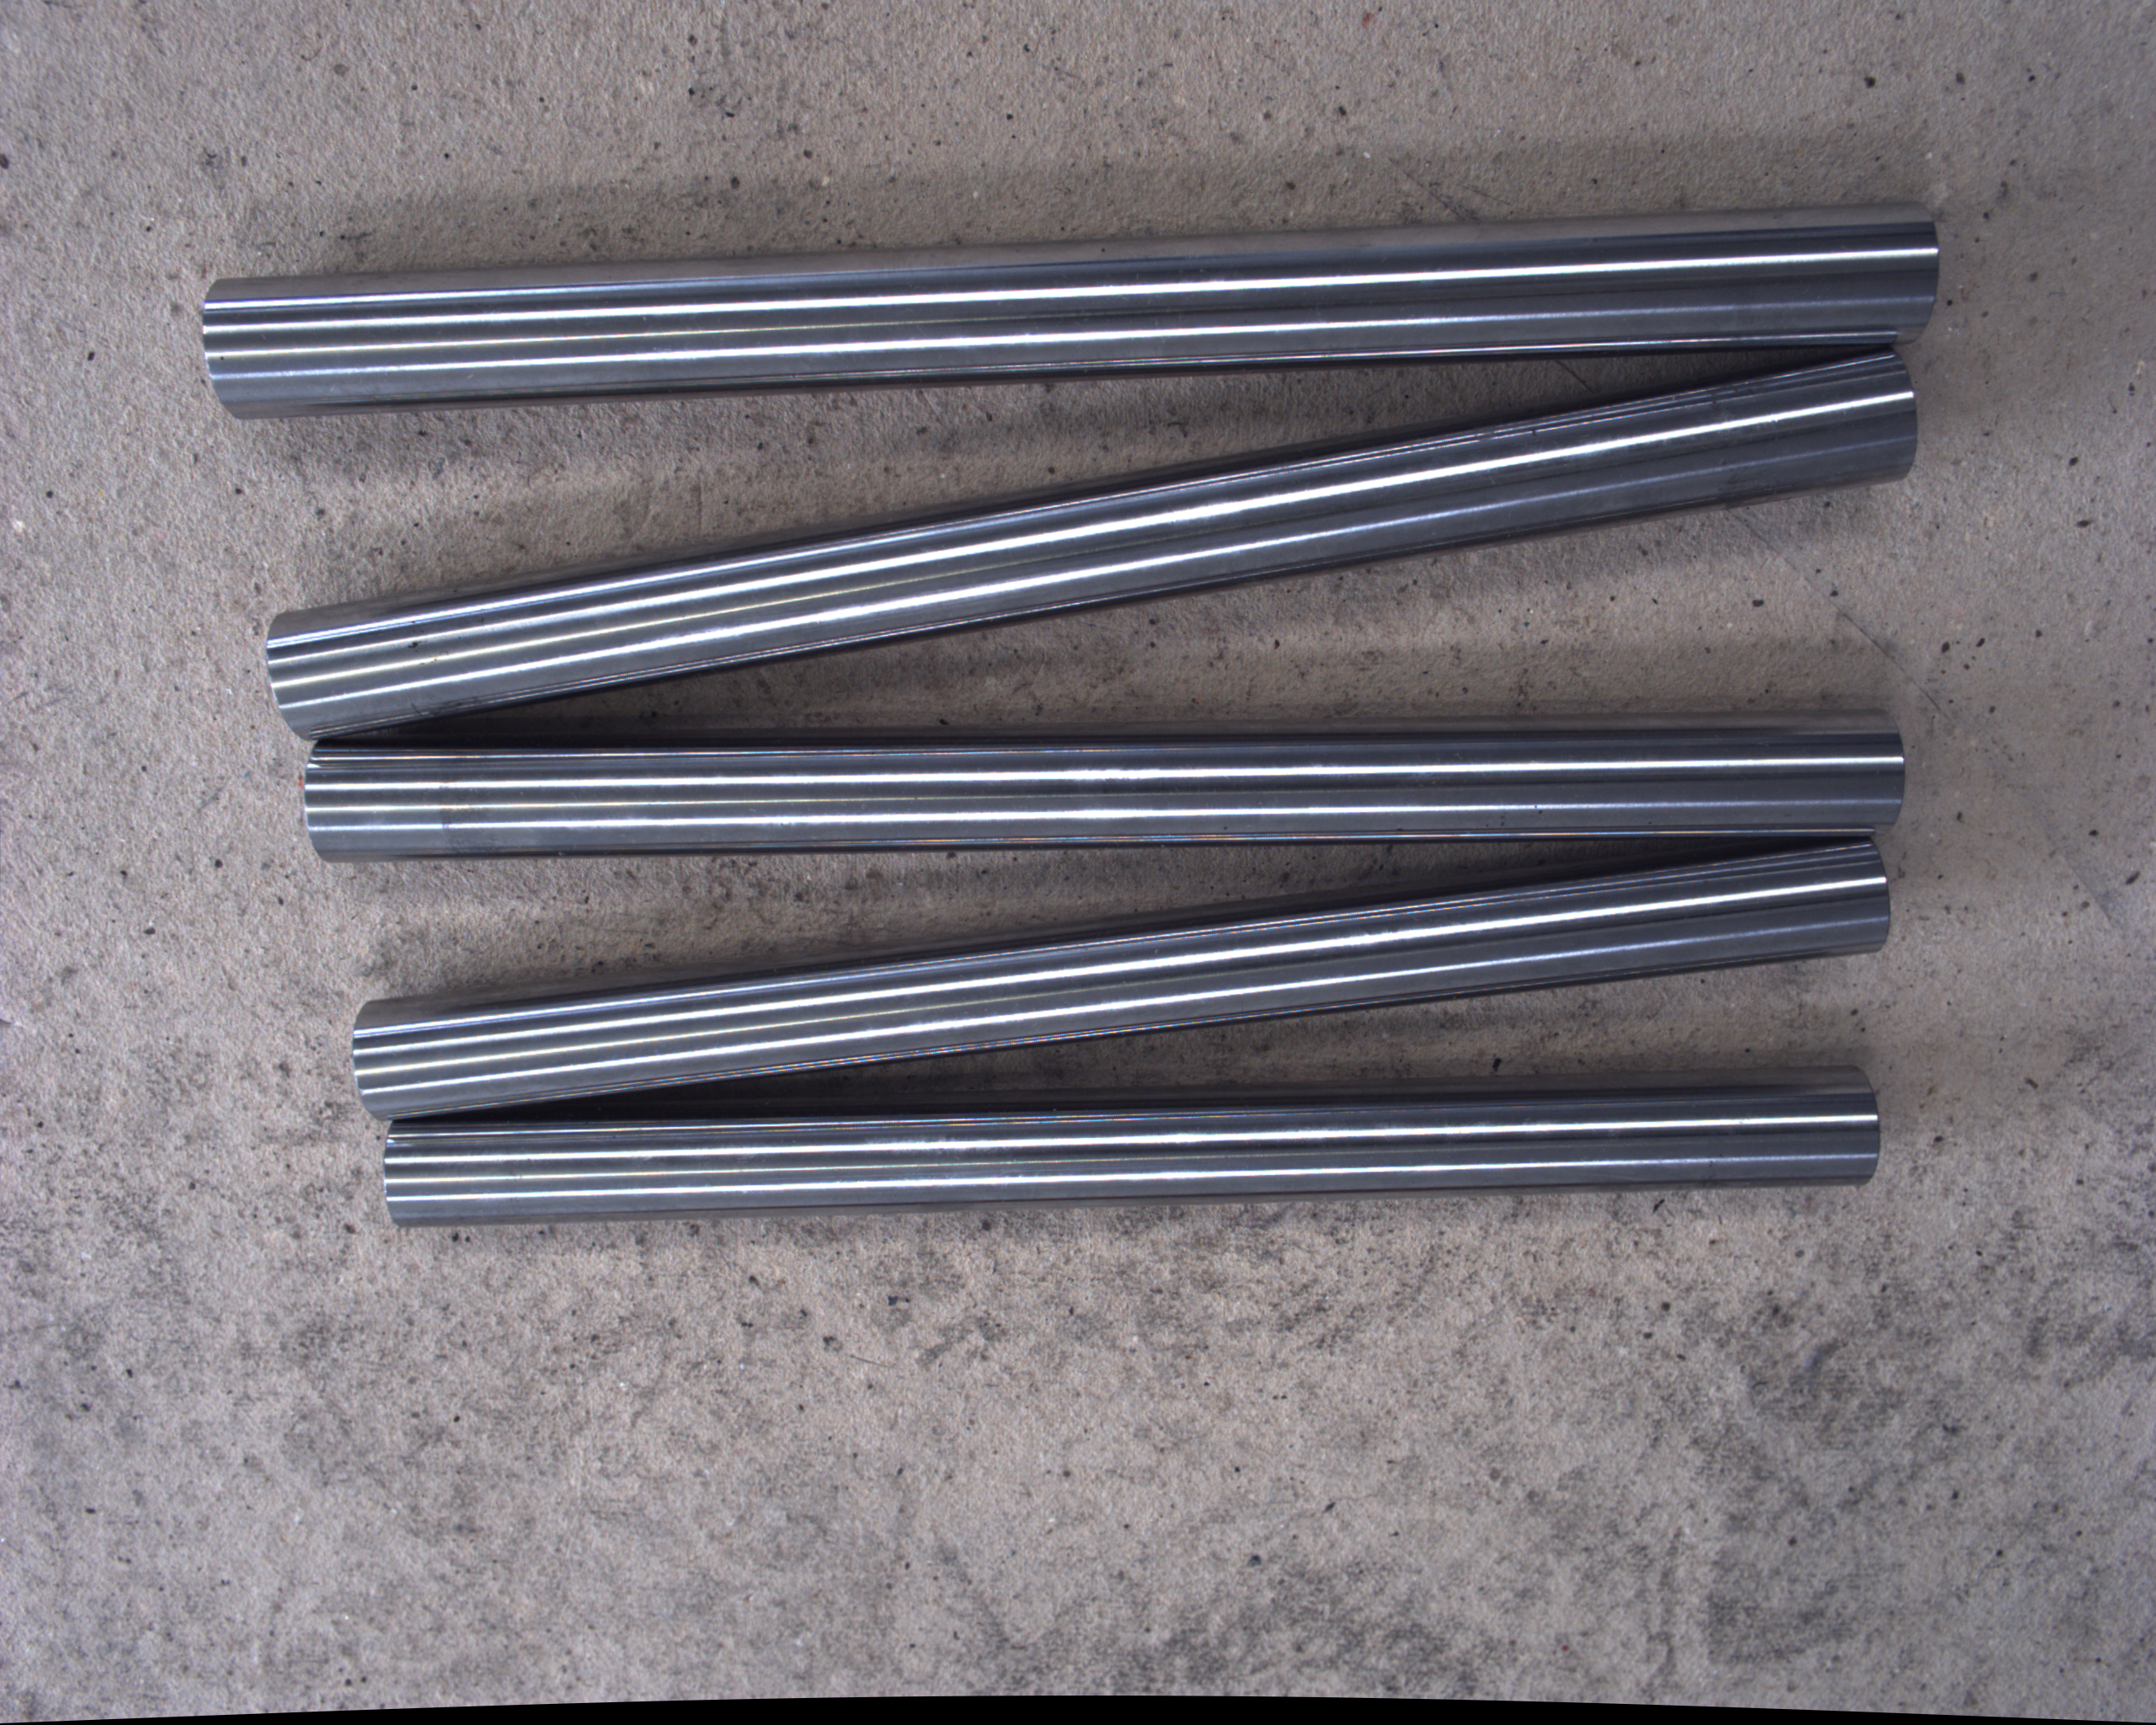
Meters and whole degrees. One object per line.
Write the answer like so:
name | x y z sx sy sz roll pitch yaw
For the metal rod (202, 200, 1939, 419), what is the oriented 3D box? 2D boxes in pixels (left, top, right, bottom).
metal rod | -0.002 -0.099 0.374 0.302 0.025 0.025 -2 110 0

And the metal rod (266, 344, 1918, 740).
metal rod | 0.000 -0.059 0.389 0.302 0.025 0.025 -9 110 3

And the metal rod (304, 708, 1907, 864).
metal rod | 0.005 -0.015 0.405 0.302 0.025 0.025 -1 110 0

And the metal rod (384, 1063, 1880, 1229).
metal rod | 0.011 0.059 0.433 0.302 0.025 0.025 -2 110 0

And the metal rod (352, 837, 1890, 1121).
metal rod | 0.007 0.023 0.419 0.302 0.025 0.025 -7 110 2
